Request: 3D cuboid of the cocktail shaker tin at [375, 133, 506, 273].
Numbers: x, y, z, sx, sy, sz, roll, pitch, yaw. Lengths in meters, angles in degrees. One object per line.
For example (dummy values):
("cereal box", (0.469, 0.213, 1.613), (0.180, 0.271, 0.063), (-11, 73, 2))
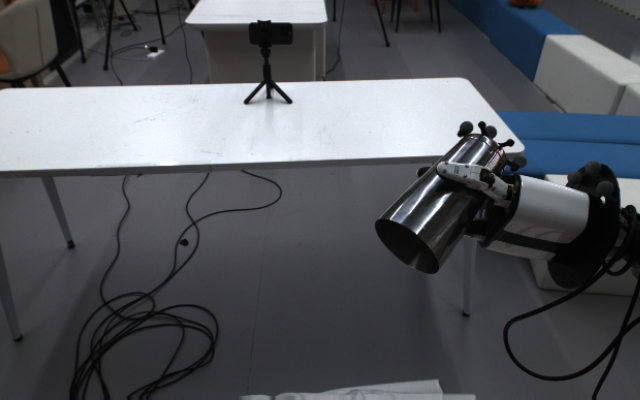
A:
("cocktail shaker tin", (0.156, -0.007, 0.595), (0.093, 0.093, 0.170), (32, 67, 35))
